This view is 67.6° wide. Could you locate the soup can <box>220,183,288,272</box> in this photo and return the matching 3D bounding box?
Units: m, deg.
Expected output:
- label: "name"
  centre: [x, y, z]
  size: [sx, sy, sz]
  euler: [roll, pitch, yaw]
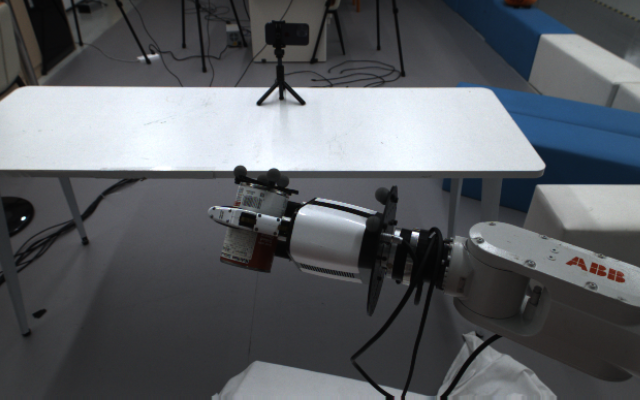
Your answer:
- label: "soup can"
  centre: [-0.081, 0.036, 0.614]
  size: [0.067, 0.101, 0.067]
  euler: [13, -6, 1]
